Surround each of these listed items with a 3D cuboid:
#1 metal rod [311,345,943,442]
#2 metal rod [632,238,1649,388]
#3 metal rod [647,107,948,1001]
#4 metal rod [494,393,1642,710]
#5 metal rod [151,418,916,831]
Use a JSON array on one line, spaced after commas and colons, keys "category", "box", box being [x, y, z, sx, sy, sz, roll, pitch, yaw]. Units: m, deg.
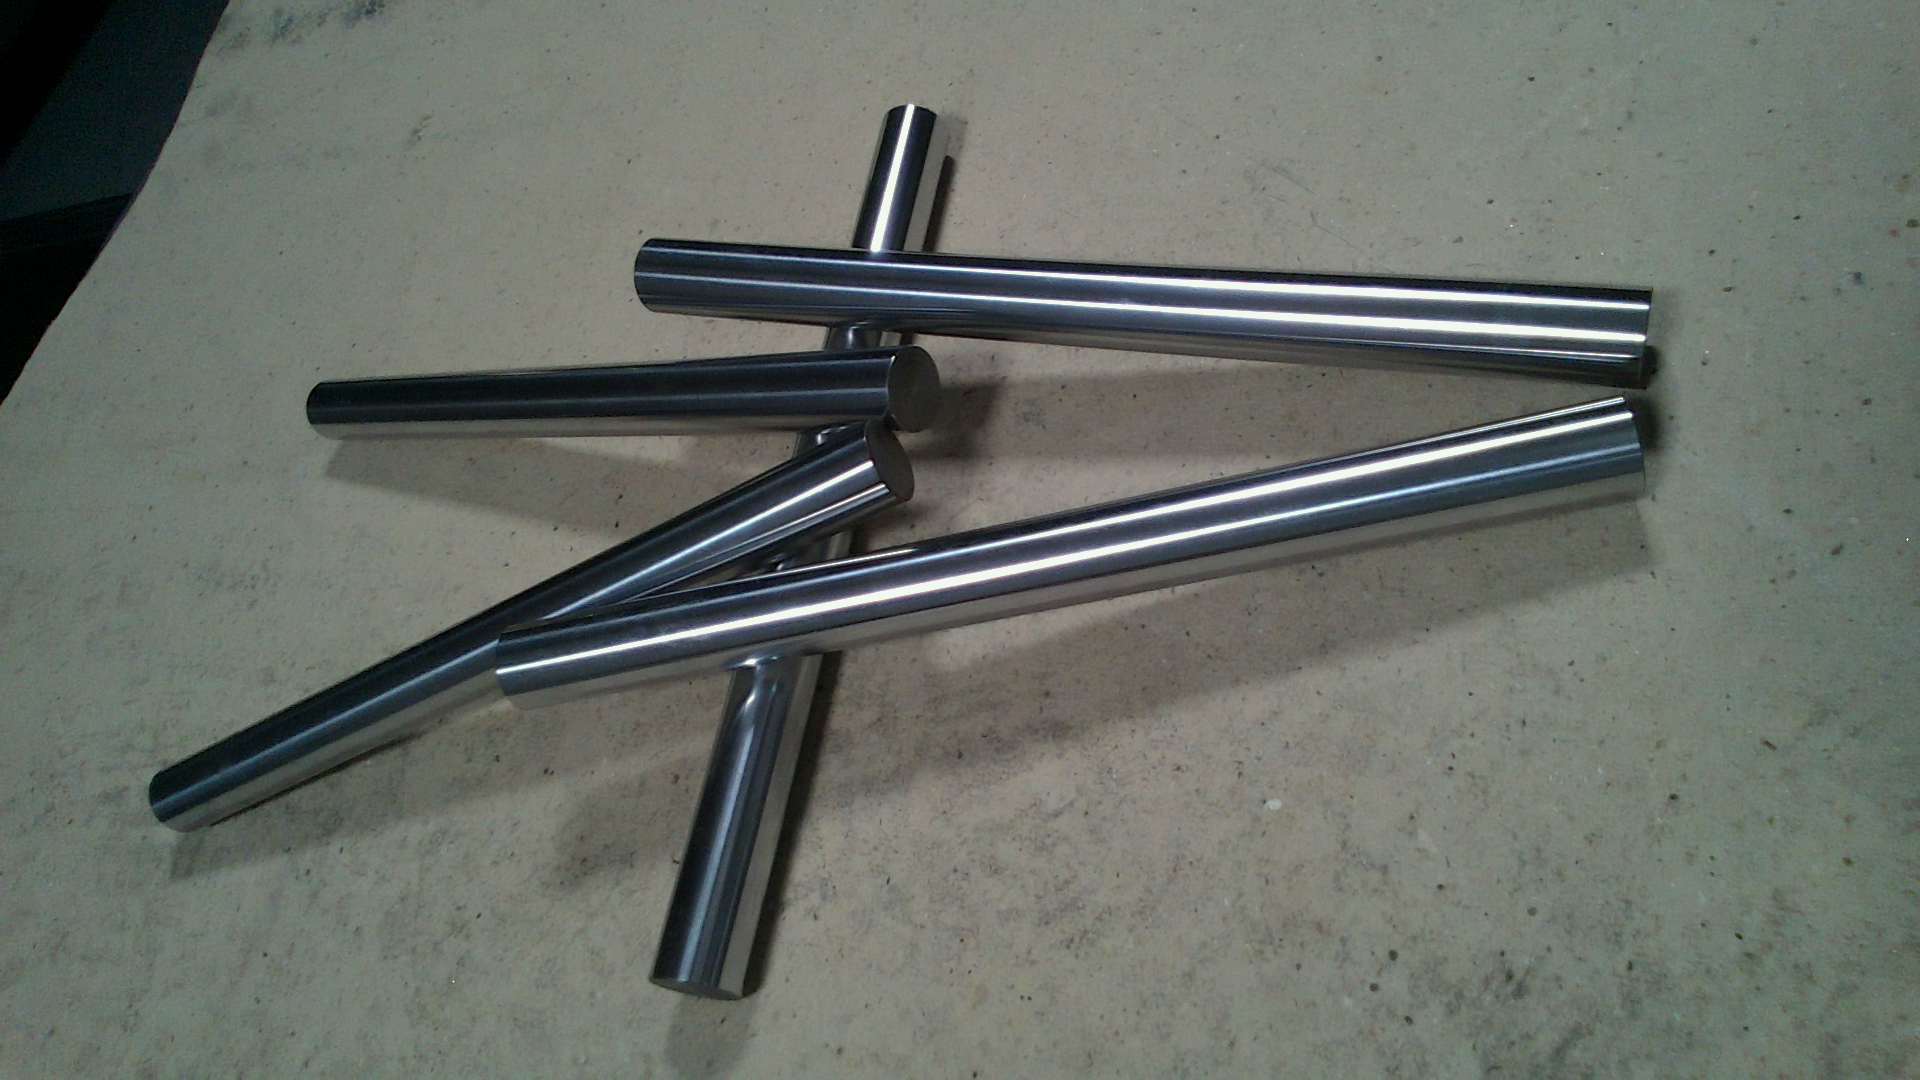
[{"category": "metal rod", "box": [-0.133, -0.047, 0.477, 0.299, 0.025, 0.025, 2, 63, 36]}, {"category": "metal rod", "box": [0.032, -0.069, 0.398, 0.299, 0.025, 0.025, 8, 66, 25]}, {"category": "metal rod", "box": [-0.043, -0.014, 0.426, 0.025, 0.025, 0.300, -3, 60, 27]}, {"category": "metal rod", "box": [0.015, 0.007, 0.361, 0.299, 0.025, 0.025, -12, 56, 14]}, {"category": "metal rod", "box": [-0.147, 0.035, 0.434, 0.299, 0.025, 0.025, -24, 53, 21]}]
